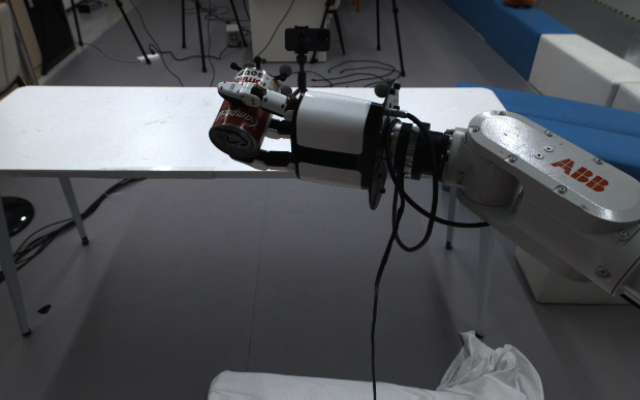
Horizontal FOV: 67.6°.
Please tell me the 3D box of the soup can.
[{"bbox_3d":[-0.096,-0.114,0.636,0.067,0.067,0.101,9,60,10],"label":"soup can"}]
